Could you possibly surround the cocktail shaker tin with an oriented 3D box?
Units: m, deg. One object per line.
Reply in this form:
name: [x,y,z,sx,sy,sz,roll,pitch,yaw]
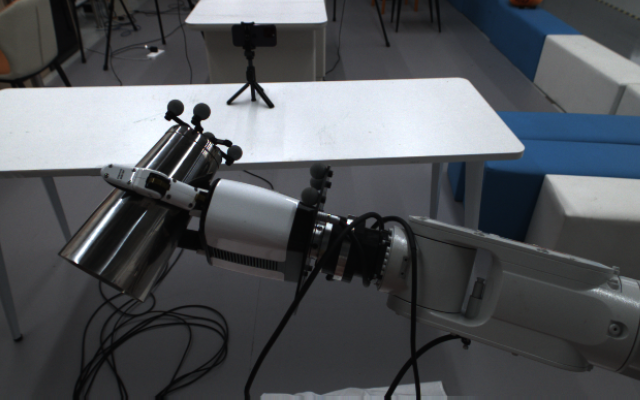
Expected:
cocktail shaker tin: [-0.171,0.006,0.496,0.093,0.093,0.170,18,66,22]
